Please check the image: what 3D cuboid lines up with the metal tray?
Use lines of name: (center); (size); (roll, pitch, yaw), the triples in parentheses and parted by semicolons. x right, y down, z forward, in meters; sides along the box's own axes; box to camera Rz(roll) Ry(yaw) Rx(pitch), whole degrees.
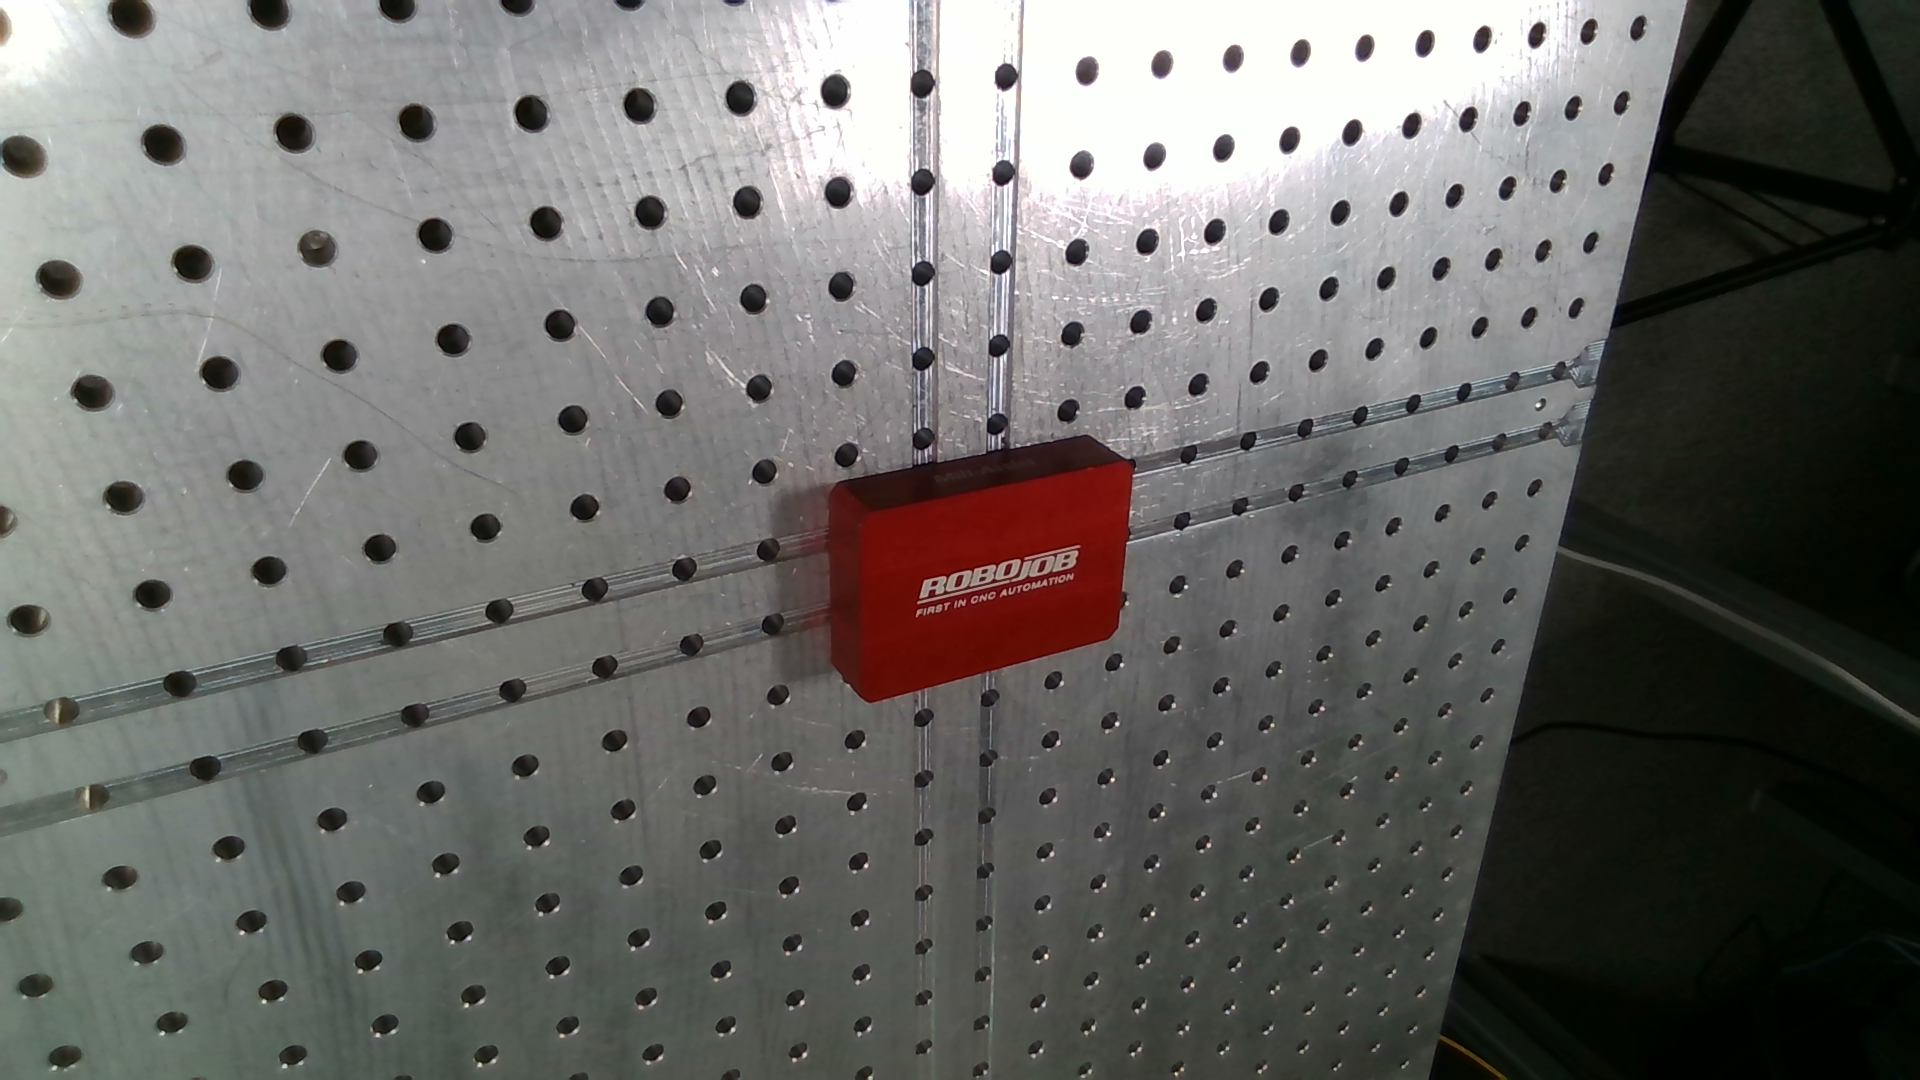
metal tray: (0.010, 0.010, 0.591); (0.130, 0.030, 0.090); (-12, 121, -26)
